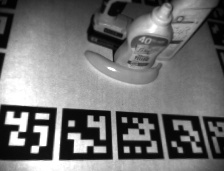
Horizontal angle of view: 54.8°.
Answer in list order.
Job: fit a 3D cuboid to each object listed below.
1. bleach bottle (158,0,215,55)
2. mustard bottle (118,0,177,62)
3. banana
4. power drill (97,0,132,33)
[{"bbox_3d":[0.159,-0.172,0.492,0.103,0.250,0.067,9,58,-12],"label":"bleach bottle"},{"bbox_3d":[0.084,-0.119,0.471,0.097,0.191,0.058,7,64,-14],"label":"mustard bottle"},{"bbox_3d":[0.042,-0.060,0.528,0.198,0.039,0.074,11,65,-10],"label":"banana"},{"bbox_3d":[0.051,-0.196,0.472,0.185,0.186,0.057,18,61,-10],"label":"power drill"}]
